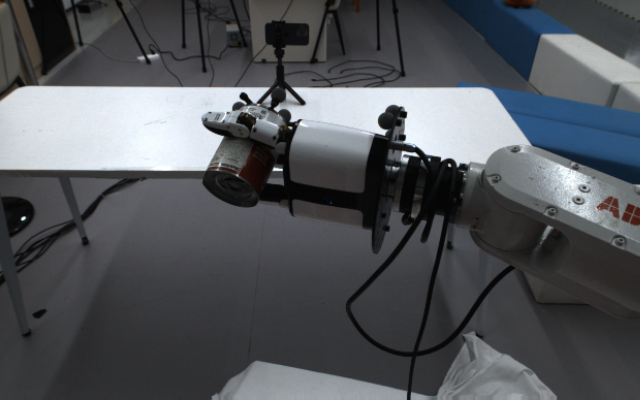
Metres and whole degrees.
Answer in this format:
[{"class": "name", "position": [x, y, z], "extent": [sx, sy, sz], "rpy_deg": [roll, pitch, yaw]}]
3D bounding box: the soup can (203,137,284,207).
[{"class": "soup can", "position": [-0.083, -0.053, 0.555], "extent": [0.067, 0.067, 0.101], "rpy_deg": [12, 59, 14]}]
